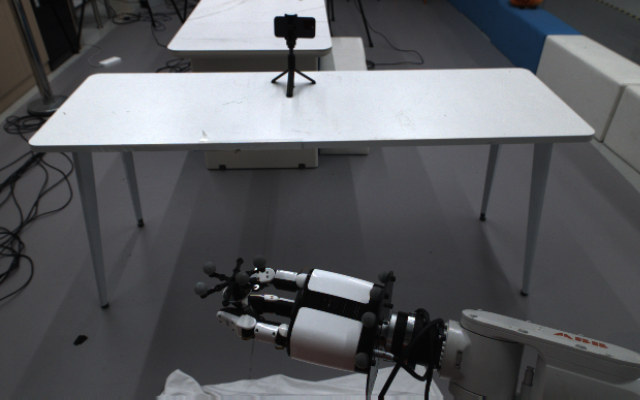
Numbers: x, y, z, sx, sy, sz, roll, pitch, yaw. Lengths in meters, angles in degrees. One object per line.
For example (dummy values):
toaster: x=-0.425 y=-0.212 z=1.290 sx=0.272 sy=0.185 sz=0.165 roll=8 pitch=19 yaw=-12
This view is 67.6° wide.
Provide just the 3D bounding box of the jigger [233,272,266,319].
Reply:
jigger: x=-0.101 y=0.147 z=0.654 sx=0.043 sy=0.071 sz=0.043 roll=-10 pitch=32 yaw=6
